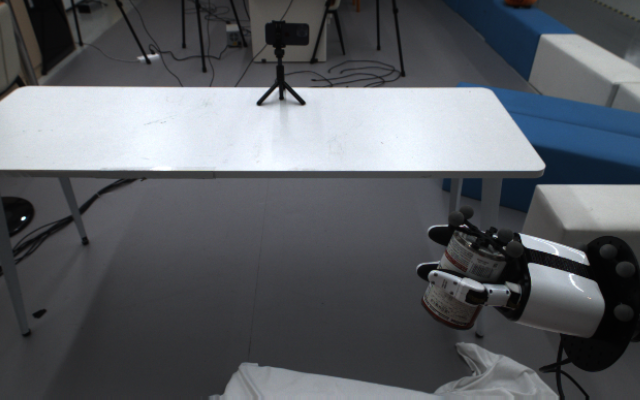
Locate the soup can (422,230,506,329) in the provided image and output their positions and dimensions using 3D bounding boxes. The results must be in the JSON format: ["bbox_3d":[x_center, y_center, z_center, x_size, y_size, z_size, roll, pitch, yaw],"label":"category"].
[{"bbox_3d":[0.172,0.090,0.571,0.067,0.101,0.067,17,21,-7],"label":"soup can"}]
